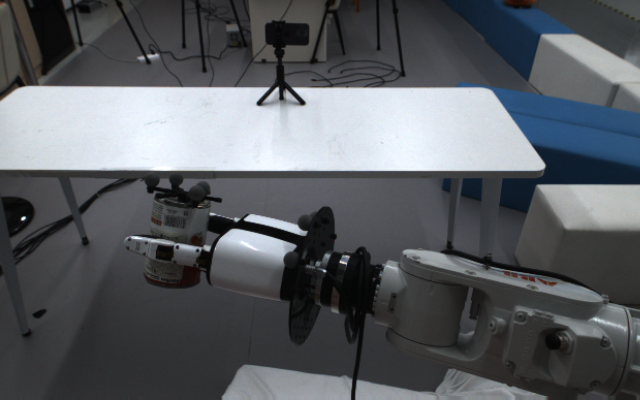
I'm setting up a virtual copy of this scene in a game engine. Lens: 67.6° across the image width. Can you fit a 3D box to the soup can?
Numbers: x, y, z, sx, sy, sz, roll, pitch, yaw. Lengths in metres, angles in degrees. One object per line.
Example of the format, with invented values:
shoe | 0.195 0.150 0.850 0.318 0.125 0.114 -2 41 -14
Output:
soup can | -0.170 0.048 0.582 0.067 0.101 0.067 10 9 -2
